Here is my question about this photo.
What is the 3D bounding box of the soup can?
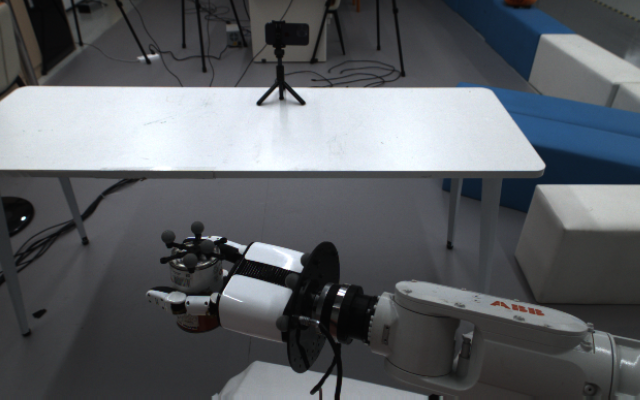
[{"bbox_3d":[-0.158,0.116,0.637,0.067,0.101,0.067,1,25,0],"label":"soup can"}]
